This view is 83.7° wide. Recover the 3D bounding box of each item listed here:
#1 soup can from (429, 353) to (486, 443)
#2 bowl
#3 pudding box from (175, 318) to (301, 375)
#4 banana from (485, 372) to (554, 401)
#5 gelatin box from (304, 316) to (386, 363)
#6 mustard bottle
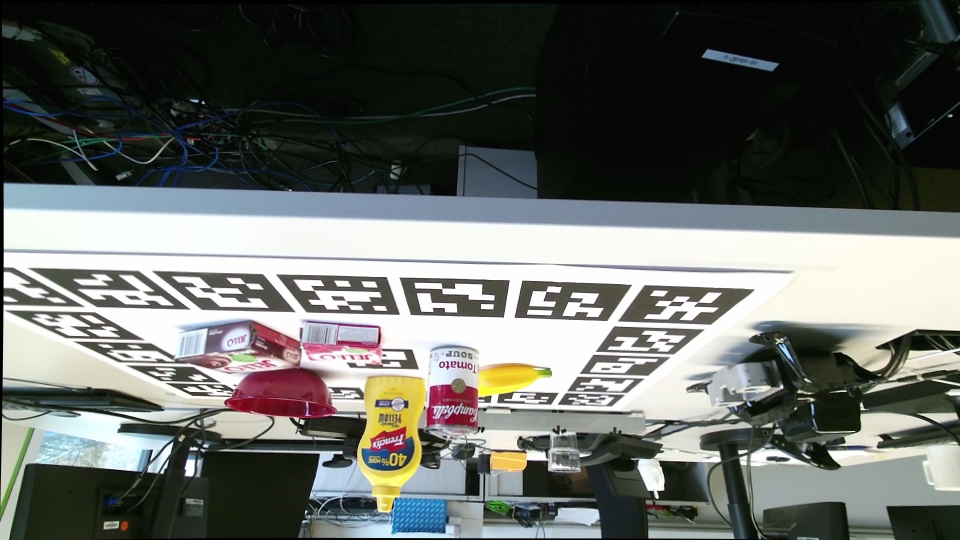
[{"bbox_3d":[-0.026,0.164,0.687,0.068,0.101,0.068,3,155,1],"label":"soup can"},{"bbox_3d":[-0.305,0.185,0.821,0.162,0.055,0.162,0,154,0],"label":"bowl"},{"bbox_3d":[-0.294,0.097,0.654,0.114,0.038,0.090,-10,146,21],"label":"pudding box"},{"bbox_3d":[0.014,0.180,0.806,0.074,0.038,0.197,13,153,-43],"label":"banana"},{"bbox_3d":[-0.156,0.084,0.632,0.090,0.030,0.073,4,150,-7],"label":"gelatin box"},{"bbox_3d":[-0.137,0.271,0.802,0.096,0.190,0.058,2,156,-1],"label":"mustard bottle"}]
